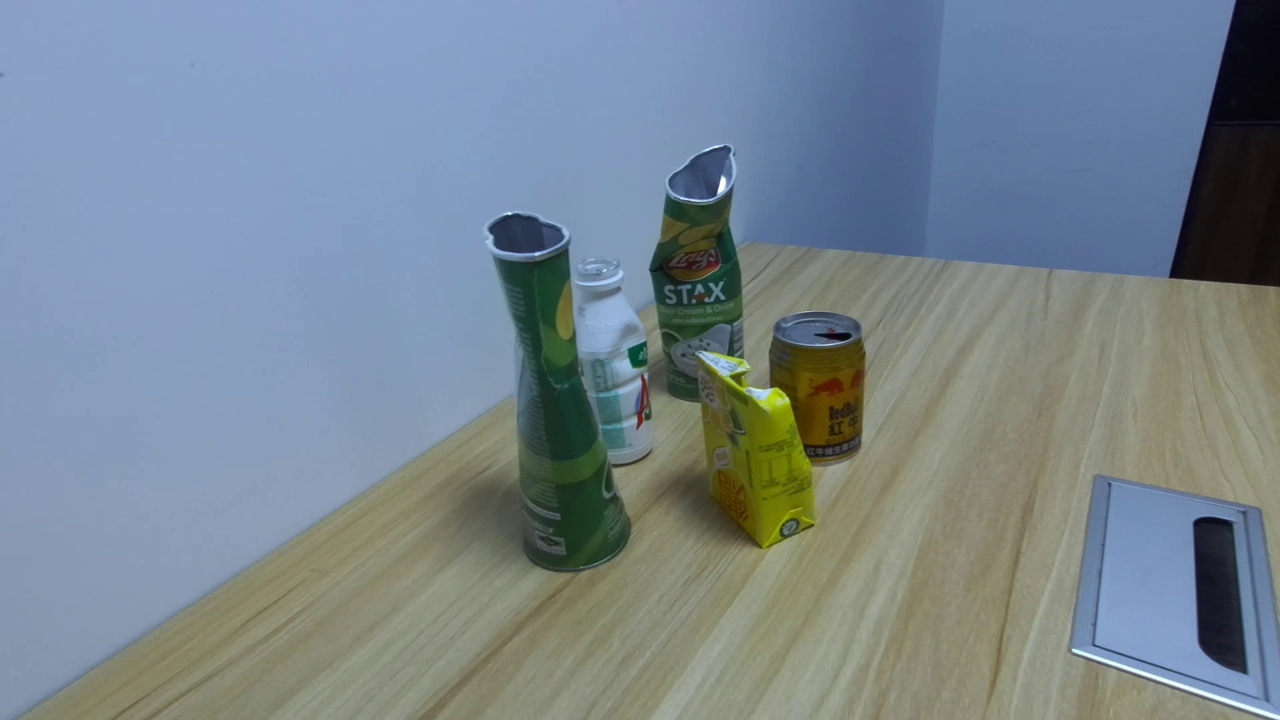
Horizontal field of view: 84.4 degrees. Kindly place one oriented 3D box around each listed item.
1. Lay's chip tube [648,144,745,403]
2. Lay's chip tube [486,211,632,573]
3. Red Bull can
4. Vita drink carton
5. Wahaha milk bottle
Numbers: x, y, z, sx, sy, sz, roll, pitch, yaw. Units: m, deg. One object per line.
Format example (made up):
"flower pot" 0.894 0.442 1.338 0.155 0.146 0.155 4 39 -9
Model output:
"Lay's chip tube" 0.053 -0.061 0.564 0.079 0.199 0.070 -16 34 -15
"Lay's chip tube" -0.050 0.023 0.409 0.074 0.200 0.069 11 31 32
"Red Bull can" 0.125 0.019 0.502 0.067 0.093 0.067 -4 24 2
"Vita drink carton" 0.073 0.049 0.431 0.046 0.110 0.071 -18 28 -18
"Wahaha milk bottle" -0.020 0.003 0.504 0.055 0.149 0.055 -4 26 2
